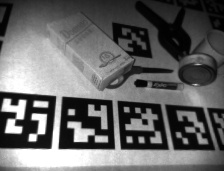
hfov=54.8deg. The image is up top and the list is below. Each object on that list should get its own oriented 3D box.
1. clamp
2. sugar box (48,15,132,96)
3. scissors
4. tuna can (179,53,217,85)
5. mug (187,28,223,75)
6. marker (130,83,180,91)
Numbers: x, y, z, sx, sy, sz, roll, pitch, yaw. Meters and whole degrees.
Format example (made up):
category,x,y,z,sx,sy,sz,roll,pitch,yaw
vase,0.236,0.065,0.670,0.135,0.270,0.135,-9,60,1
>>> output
category,x,y,z,sx,sy,sz,roll,pitch,yaw
clamp,0.154,-0.151,0.596,0.167,0.036,0.201,-6,67,-22
sugar box,-0.047,-0.070,0.463,0.093,0.045,0.175,-35,72,-30
scissors,0.053,-0.037,0.498,0.205,0.016,0.087,-6,62,-23
tuna can,0.204,-0.036,0.513,0.086,0.085,0.033,18,59,-8
mug,0.256,-0.078,0.558,0.094,0.081,0.116,-24,69,-27
marker,0.100,0.003,0.496,0.122,0.019,0.019,0,64,-18
